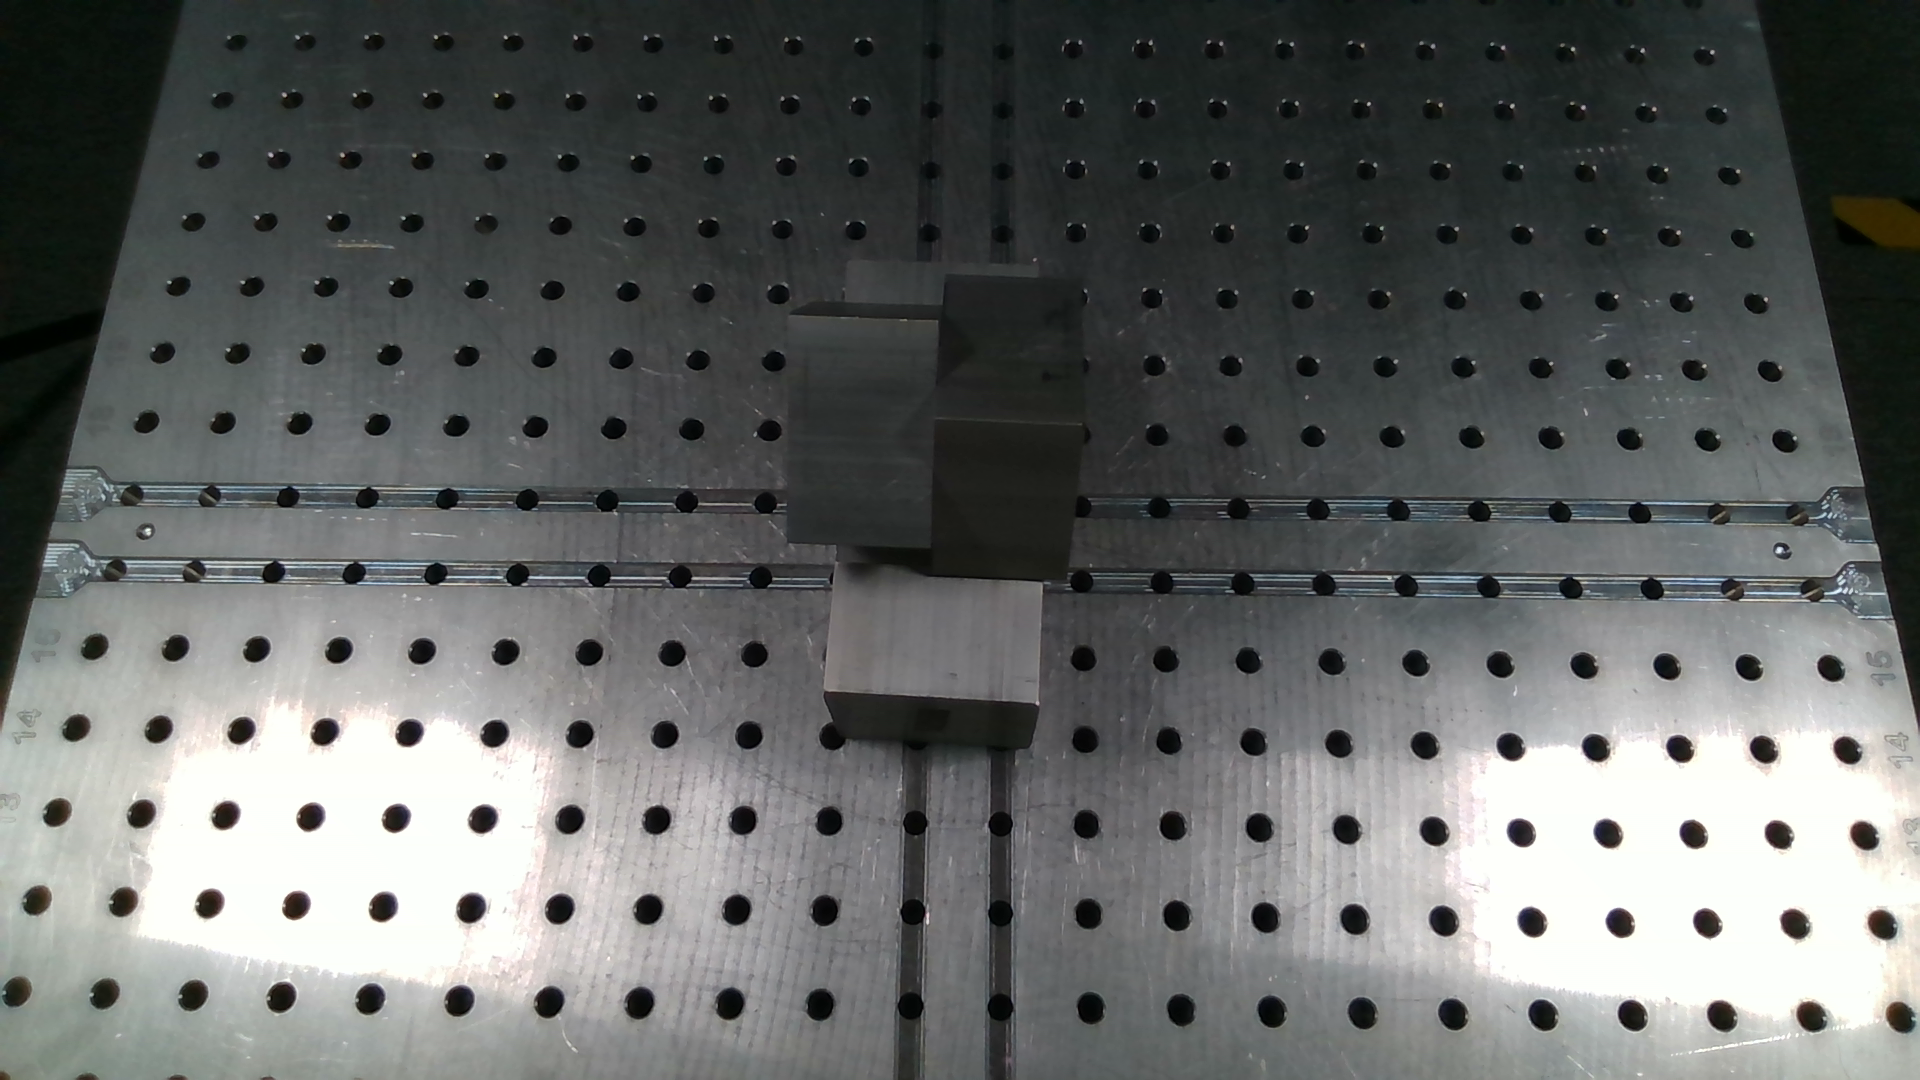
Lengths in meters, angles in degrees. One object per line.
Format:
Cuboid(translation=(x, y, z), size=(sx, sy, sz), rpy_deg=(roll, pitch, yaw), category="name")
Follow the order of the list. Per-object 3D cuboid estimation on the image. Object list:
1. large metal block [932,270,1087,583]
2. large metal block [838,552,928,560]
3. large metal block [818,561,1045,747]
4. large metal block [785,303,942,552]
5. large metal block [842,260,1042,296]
Cuboid(translation=(0.017, -0.041, 0.508), size=(0.050, 0.080, 0.080), rpy_deg=(3, 48, 0), category="large metal block")
Cuboid(translation=(-0.007, -0.009, 0.578), size=(0.080, 0.050, 0.080), rpy_deg=(2, 70, 1), category="large metal block")
Cuboid(translation=(-0.010, 0.048, 0.544), size=(0.080, 0.080, 0.050), rpy_deg=(4, 70, 1), category="large metal block")
Cuboid(translation=(-0.033, -0.045, 0.506), size=(0.050, 0.080, 0.080), rpy_deg=(3, 103, 0), category="large metal block")
Cuboid(translation=(-0.008, -0.076, 0.589), size=(0.080, 0.080, 0.050), rpy_deg=(2, 70, 1), category="large metal block")
